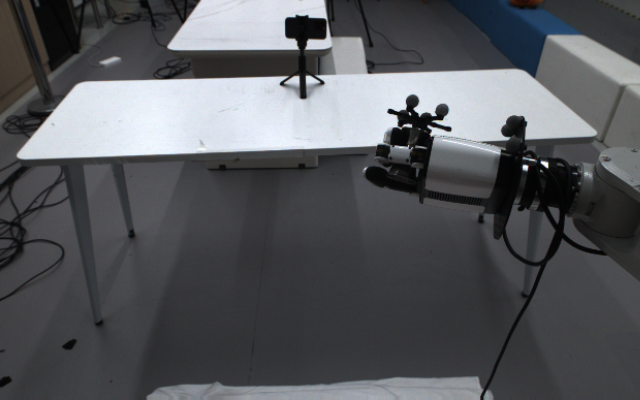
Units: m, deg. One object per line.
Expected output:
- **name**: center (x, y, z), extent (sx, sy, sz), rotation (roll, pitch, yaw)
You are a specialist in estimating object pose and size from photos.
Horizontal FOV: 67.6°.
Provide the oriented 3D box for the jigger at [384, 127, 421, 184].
- **jigger**: center (0.119, -0.061, 0.648), extent (0.043, 0.071, 0.043), rotation (19, -6, 2)
